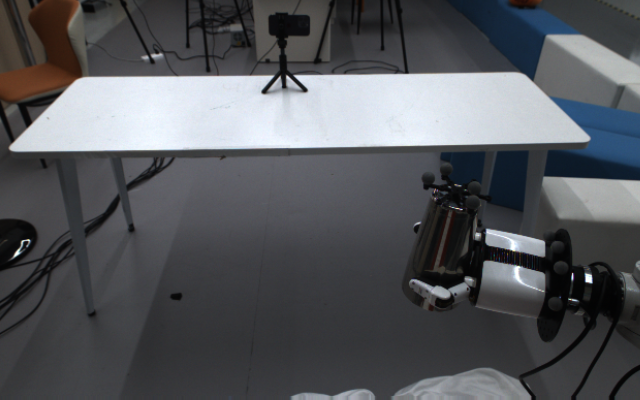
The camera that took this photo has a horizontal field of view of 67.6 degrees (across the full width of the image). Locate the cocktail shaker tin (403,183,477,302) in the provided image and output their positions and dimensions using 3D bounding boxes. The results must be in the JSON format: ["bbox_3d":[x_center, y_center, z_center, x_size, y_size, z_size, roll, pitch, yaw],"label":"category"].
[{"bbox_3d":[0.175,0.065,0.689,0.093,0.170,0.093,3,34,-2],"label":"cocktail shaker tin"}]
